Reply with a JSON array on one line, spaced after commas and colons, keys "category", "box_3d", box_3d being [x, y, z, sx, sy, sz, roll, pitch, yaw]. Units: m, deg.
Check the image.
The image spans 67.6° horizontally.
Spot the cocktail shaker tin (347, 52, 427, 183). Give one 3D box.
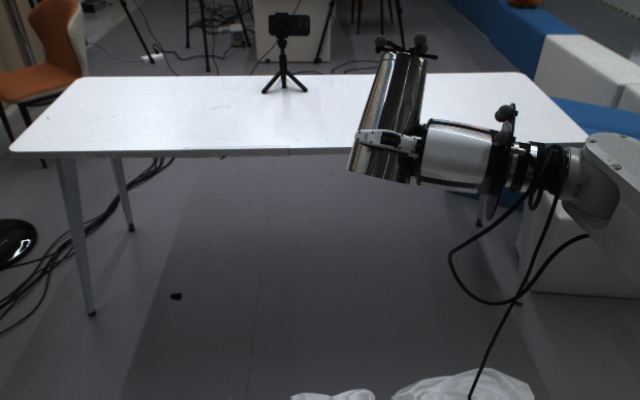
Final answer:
[{"category": "cocktail shaker tin", "box_3d": [0.100, -0.115, 0.684, 0.093, 0.170, 0.093, 13, 4, -1]}]
